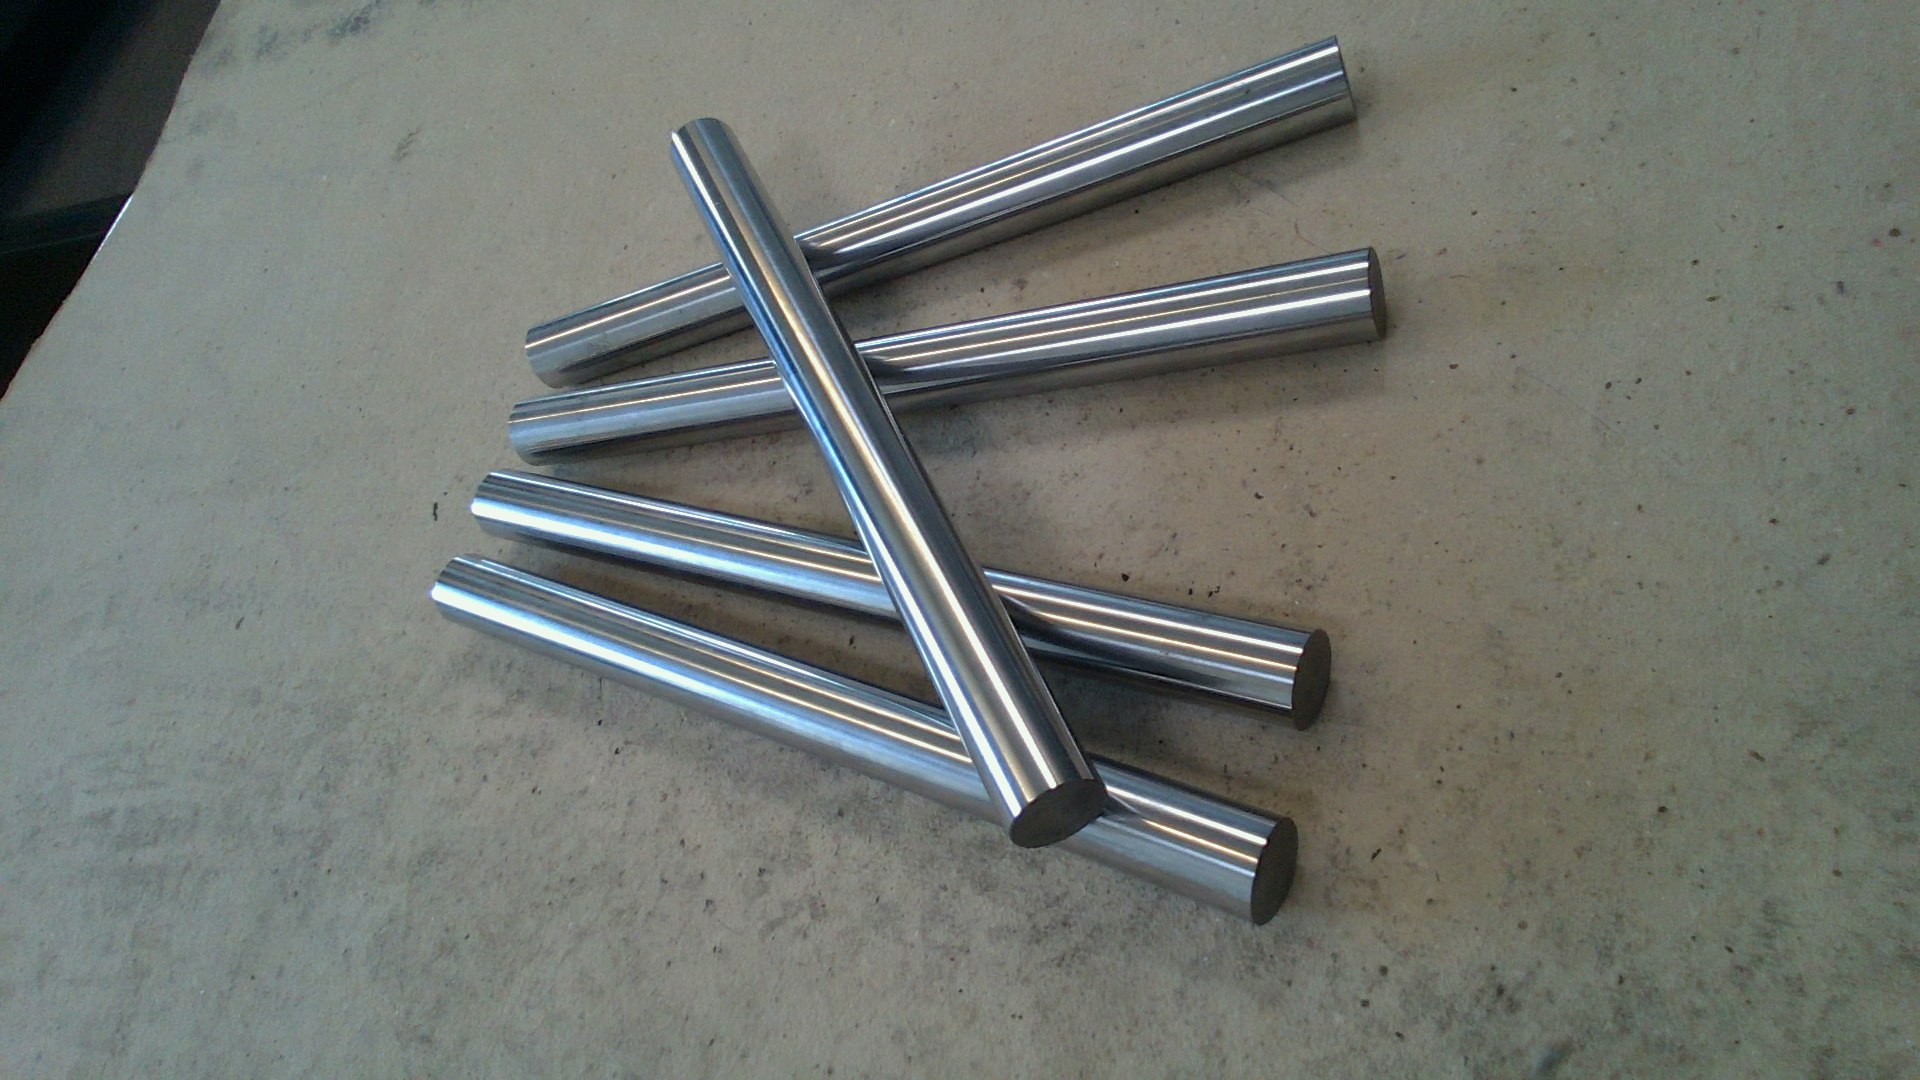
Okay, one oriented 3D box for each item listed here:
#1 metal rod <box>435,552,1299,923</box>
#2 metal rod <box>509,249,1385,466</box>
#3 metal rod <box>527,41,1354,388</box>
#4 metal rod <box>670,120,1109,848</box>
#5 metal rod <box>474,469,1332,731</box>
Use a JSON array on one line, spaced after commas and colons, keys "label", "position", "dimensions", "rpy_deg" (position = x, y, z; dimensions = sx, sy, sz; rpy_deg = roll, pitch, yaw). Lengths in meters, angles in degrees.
[{"label": "metal rod", "position": [-0.050, 0.045, 0.393], "dimensions": [0.299, 0.025, 0.025], "rpy_deg": [13, 69, 34]}, {"label": "metal rod", "position": [-0.021, -0.053, 0.439], "dimensions": [0.299, 0.025, 0.025], "rpy_deg": [-6, 59, 25]}, {"label": "metal rod", "position": [-0.019, -0.104, 0.470], "dimensions": [0.299, 0.025, 0.025], "rpy_deg": [-14, 56, 20]}, {"label": "metal rod", "position": [-0.035, -0.040, 0.404], "dimensions": [0.025, 0.025, 0.299], "rpy_deg": [-34, 51, 6]}, {"label": "metal rod", "position": [-0.039, 0.010, 0.409], "dimensions": [0.299, 0.025, 0.025], "rpy_deg": [11, 67, 33]}]
